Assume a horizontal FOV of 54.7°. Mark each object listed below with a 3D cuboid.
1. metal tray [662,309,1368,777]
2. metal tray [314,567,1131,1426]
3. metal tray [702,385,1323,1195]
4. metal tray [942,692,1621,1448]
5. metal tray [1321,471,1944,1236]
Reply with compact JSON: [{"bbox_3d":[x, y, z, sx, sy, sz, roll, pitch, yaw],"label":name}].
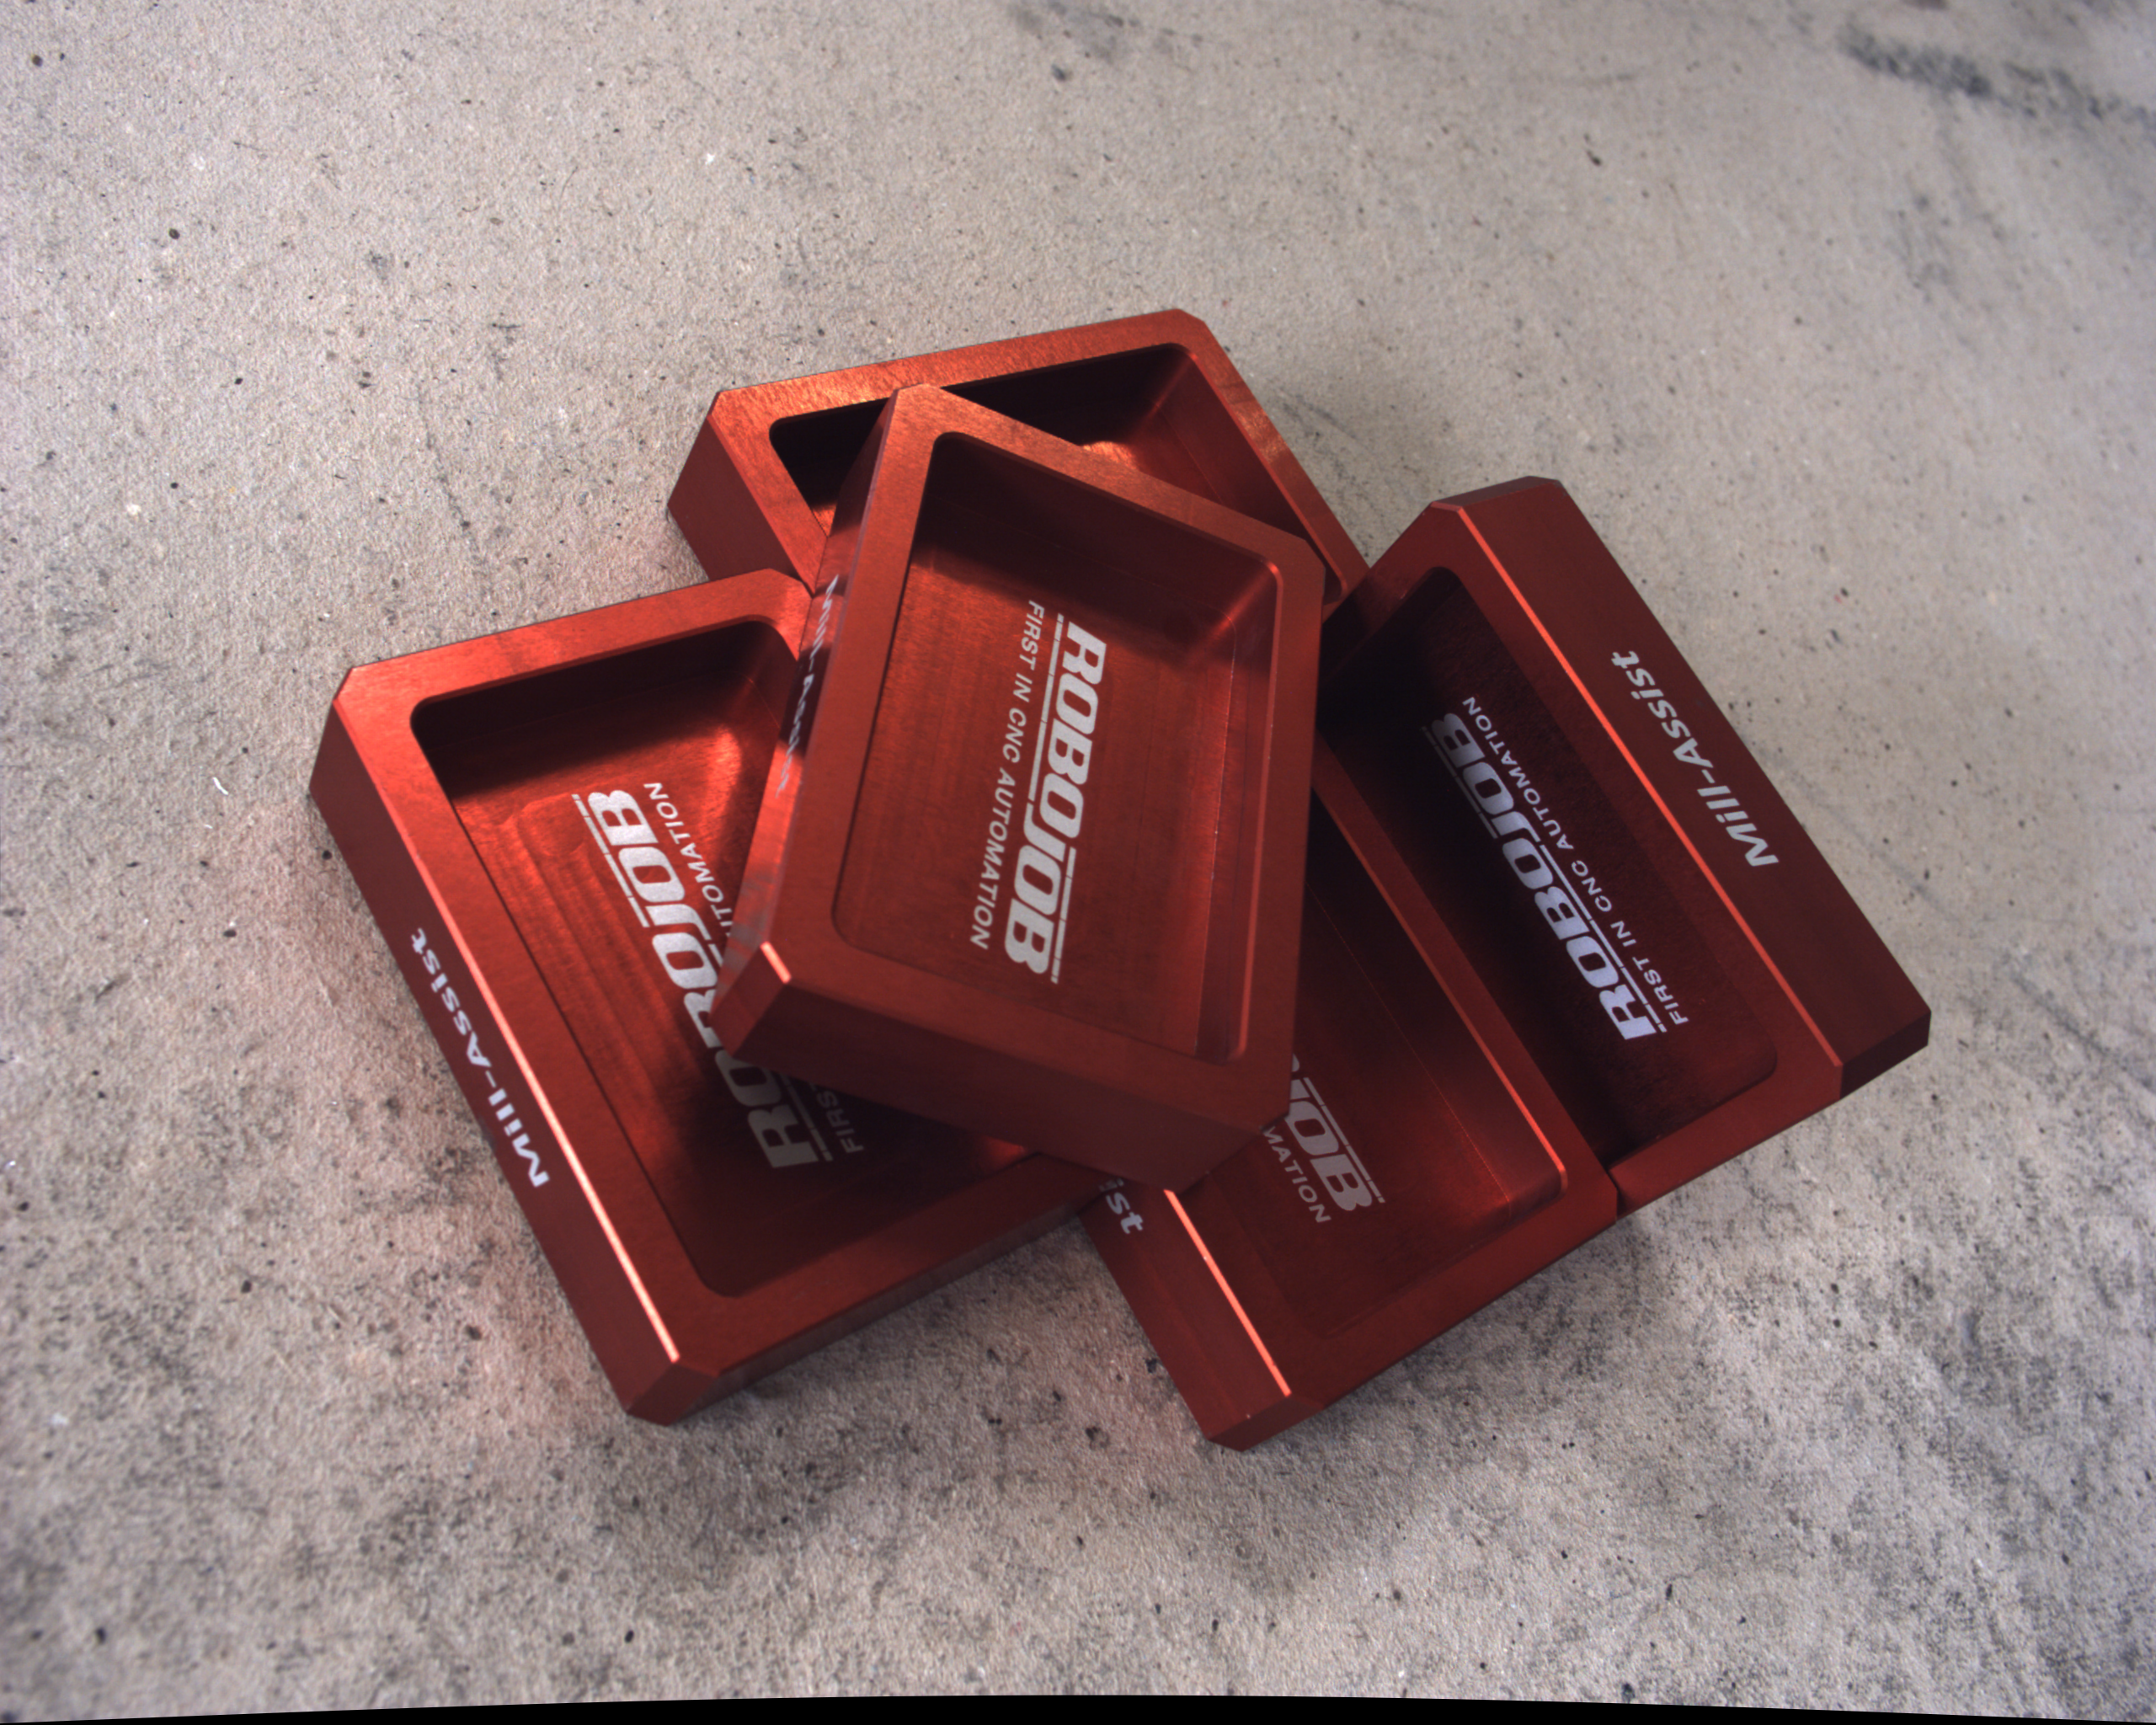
[{"bbox_3d":[-0.008,-0.064,0.438,0.131,0.030,0.090,-20,73,-35],"label":"metal tray"},{"bbox_3d":[-0.060,0.017,0.358,0.091,0.030,0.130,-21,72,-35],"label":"metal tray"},{"bbox_3d":[-0.006,-0.016,0.371,0.091,0.030,0.130,19,55,-16],"label":"metal tray"},{"bbox_3d":[0.034,0.032,0.398,0.091,0.030,0.130,-22,74,-35],"label":"metal tray"},{"bbox_3d":[0.094,0.001,0.411,0.030,0.090,0.130,-20,73,-36],"label":"metal tray"}]
